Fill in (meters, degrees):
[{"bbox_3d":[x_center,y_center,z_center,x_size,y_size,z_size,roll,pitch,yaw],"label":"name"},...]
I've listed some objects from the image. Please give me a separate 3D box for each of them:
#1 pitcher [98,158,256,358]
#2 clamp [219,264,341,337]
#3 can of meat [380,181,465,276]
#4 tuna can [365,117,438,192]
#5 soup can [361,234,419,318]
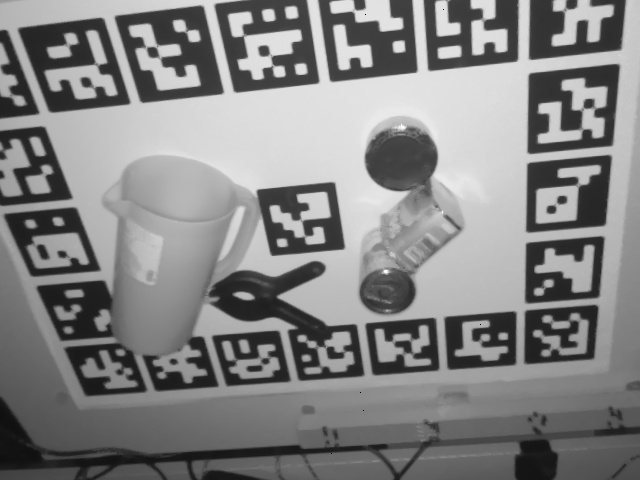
[{"bbox_3d":[-0.188,0.030,0.866,0.191,0.133,0.239,2,129,-23],"label":"pitcher"},{"bbox_3d":[-0.058,0.086,0.961,0.164,0.037,0.121,-1,123,8],"label":"clamp"},{"bbox_3d":[0.124,-0.017,0.841,0.083,0.102,0.058,-40,109,19],"label":"can of meat"},{"bbox_3d":[0.098,-0.104,0.836,0.086,0.034,0.085,1,118,3],"label":"tuna can"},{"bbox_3d":[0.087,0.044,0.882,0.068,0.103,0.067,0,117,1],"label":"soup can"}]
